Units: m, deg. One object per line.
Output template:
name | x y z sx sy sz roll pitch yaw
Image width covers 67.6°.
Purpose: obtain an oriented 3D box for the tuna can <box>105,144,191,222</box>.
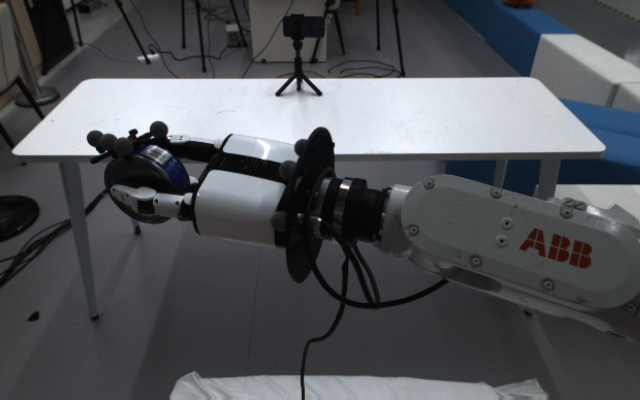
tuna can | -0.183 -0.016 0.529 0.085 0.085 0.034 9 33 10
